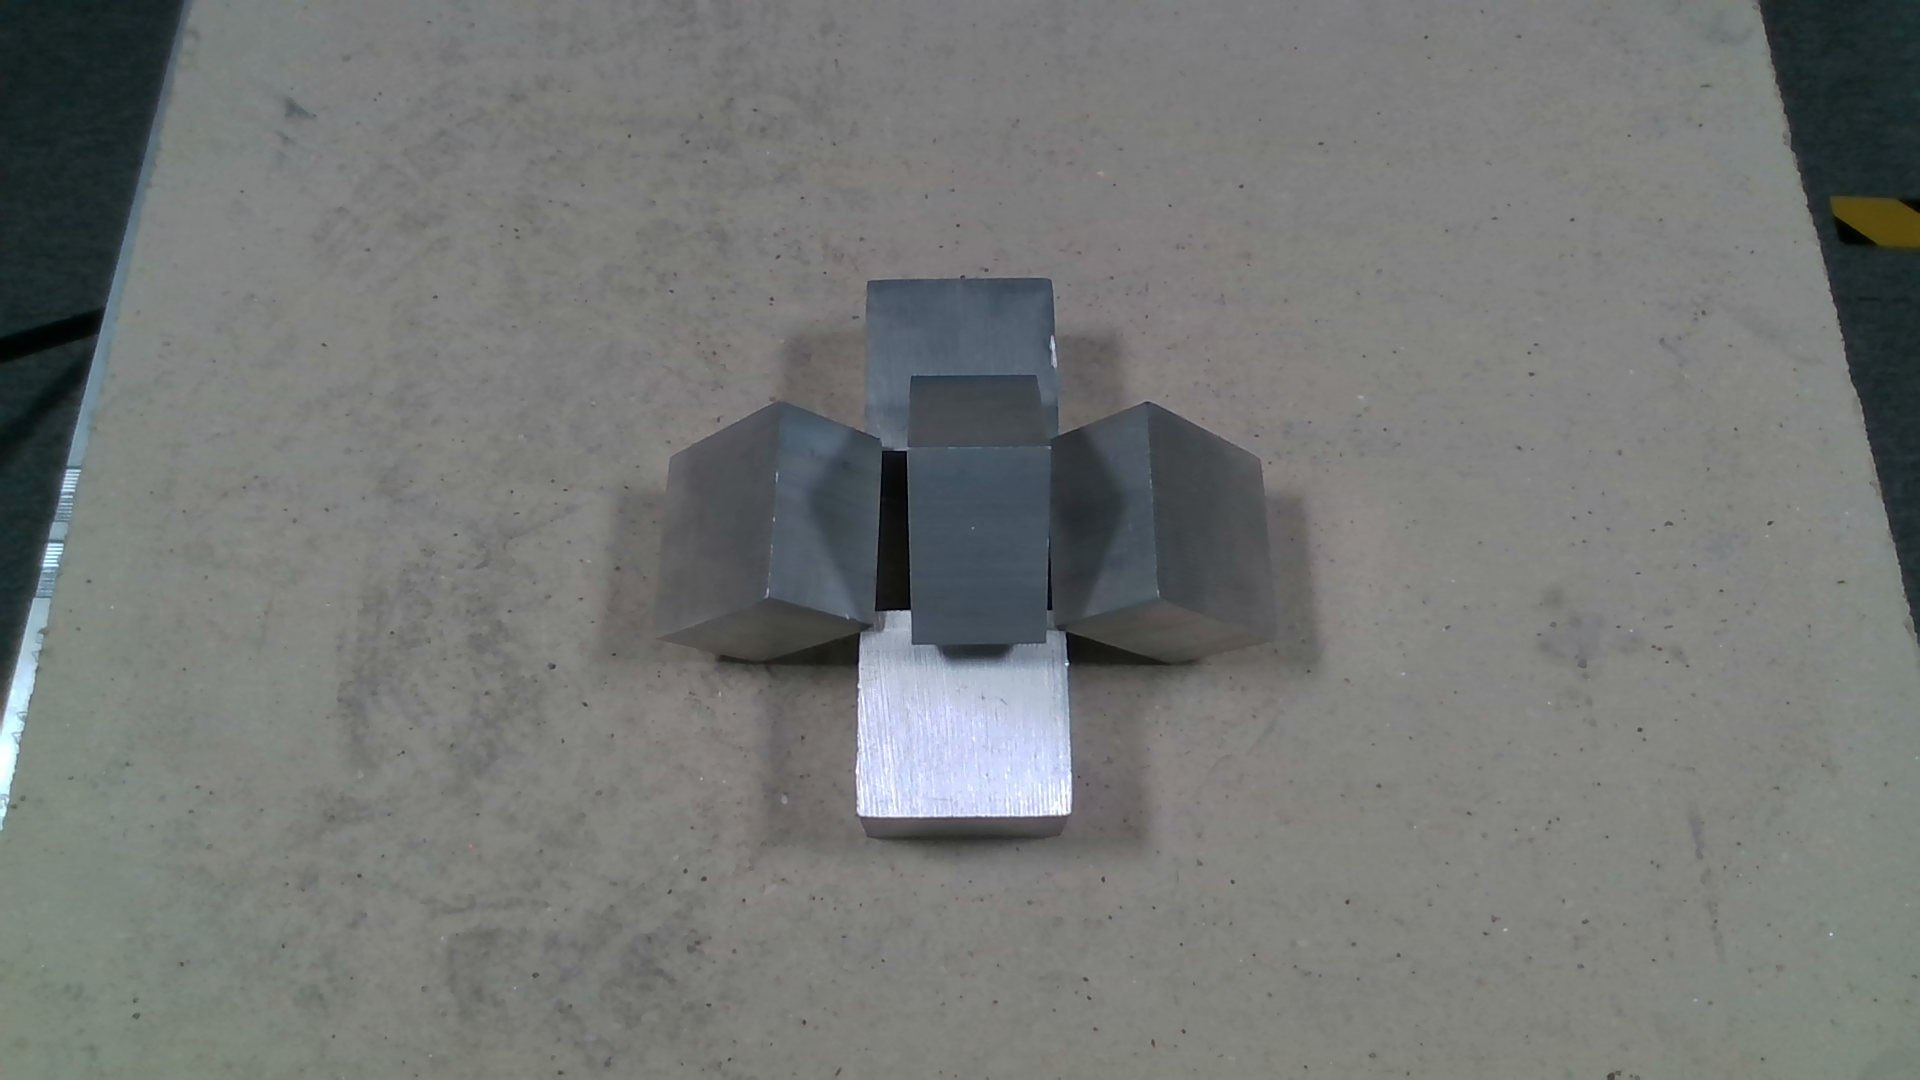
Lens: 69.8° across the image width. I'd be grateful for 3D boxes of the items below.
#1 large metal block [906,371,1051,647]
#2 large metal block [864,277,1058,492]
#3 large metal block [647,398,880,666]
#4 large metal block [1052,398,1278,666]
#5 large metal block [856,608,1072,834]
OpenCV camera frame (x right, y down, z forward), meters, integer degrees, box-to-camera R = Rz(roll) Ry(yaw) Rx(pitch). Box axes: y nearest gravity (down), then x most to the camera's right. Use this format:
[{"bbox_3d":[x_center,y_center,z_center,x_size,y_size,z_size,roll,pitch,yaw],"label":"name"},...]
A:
[{"bbox_3d":[0.006,-0.014,0.529,0.050,0.080,0.080,-1,26,0],"label":"large metal block"},{"bbox_3d":[0.000,-0.066,0.599,0.080,0.050,0.080,-1,70,0],"label":"large metal block"},{"bbox_3d":[-0.079,0.000,0.553,0.050,0.080,0.080,19,63,-39],"label":"large metal block"},{"bbox_3d":[0.081,0.000,0.553,0.050,0.080,0.080,-18,63,40],"label":"large metal block"},{"bbox_3d":[0.001,0.073,0.546,0.080,0.050,0.080,0,70,0],"label":"large metal block"}]
